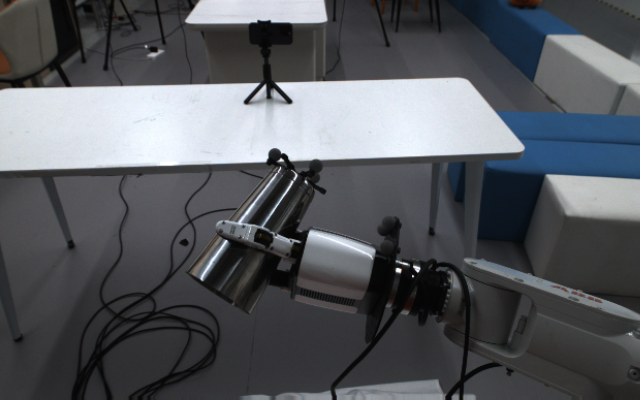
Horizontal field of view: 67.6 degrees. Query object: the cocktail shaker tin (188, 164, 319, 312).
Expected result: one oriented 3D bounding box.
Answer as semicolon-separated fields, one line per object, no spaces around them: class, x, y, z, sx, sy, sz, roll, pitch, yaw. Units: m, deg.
cocktail shaker tin;-0.077;0.039;0.598;0.093;0.093;0.170;22;67;26
